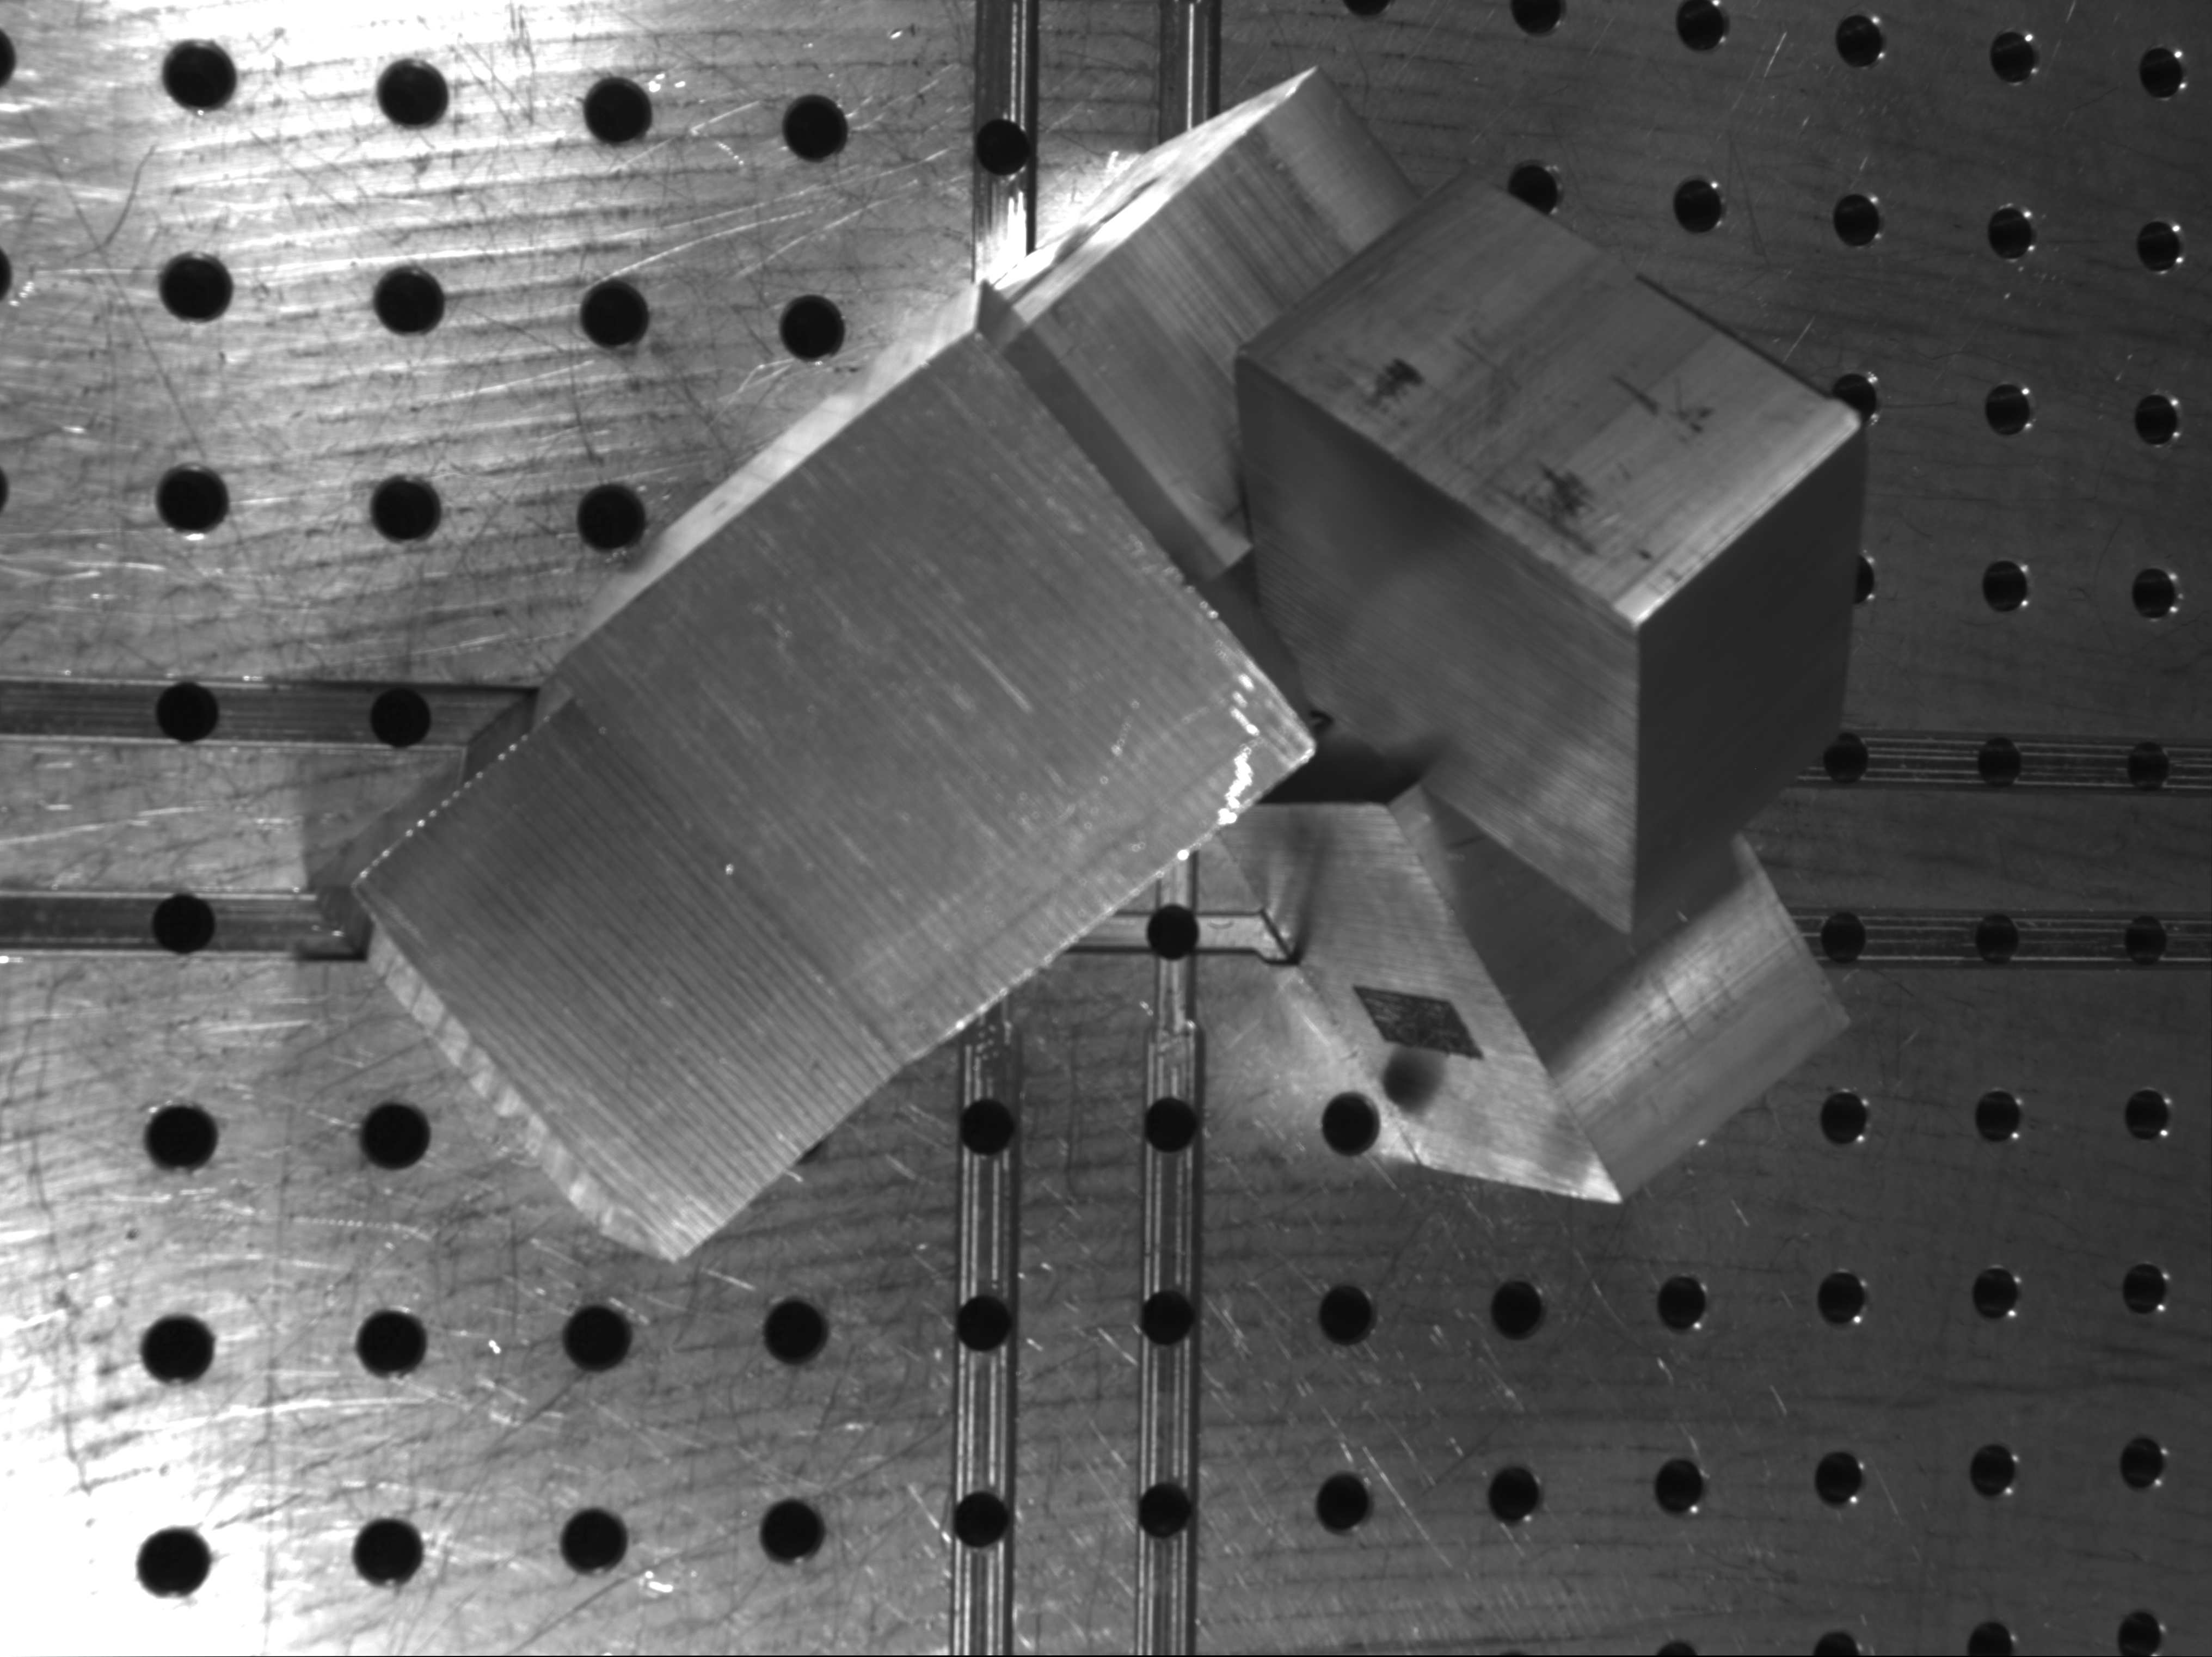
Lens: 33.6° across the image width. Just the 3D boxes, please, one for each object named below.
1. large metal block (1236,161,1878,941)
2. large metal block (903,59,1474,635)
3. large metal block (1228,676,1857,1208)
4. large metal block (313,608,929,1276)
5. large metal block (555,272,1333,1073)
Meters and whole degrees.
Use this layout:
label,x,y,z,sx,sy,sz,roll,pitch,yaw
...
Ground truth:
label,x,y,z,sx,sy,sz,roll,pitch,yaw
large metal block,0.069,-0.042,0.567,0.050,0.080,0.080,-41,60,-20
large metal block,0.010,-0.078,0.619,0.080,0.080,0.050,-43,103,-15
large metal block,0.073,0.016,0.642,0.050,0.080,0.080,-35,101,-16
large metal block,-0.071,0.015,0.606,0.080,0.050,0.080,-41,103,-15
large metal block,-0.023,-0.025,0.555,0.080,0.050,0.080,-38,103,10
